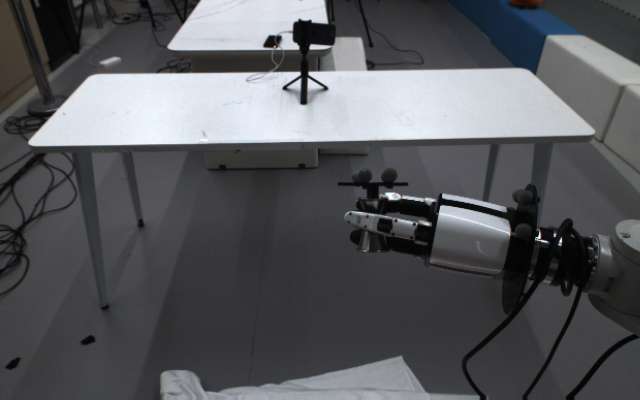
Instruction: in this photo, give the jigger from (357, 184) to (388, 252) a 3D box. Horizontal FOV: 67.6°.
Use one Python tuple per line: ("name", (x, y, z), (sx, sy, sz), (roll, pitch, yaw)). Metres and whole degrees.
("jigger", (0.068, 0.030, 0.624), (0.043, 0.071, 0.043), (-1, 2, 0))
